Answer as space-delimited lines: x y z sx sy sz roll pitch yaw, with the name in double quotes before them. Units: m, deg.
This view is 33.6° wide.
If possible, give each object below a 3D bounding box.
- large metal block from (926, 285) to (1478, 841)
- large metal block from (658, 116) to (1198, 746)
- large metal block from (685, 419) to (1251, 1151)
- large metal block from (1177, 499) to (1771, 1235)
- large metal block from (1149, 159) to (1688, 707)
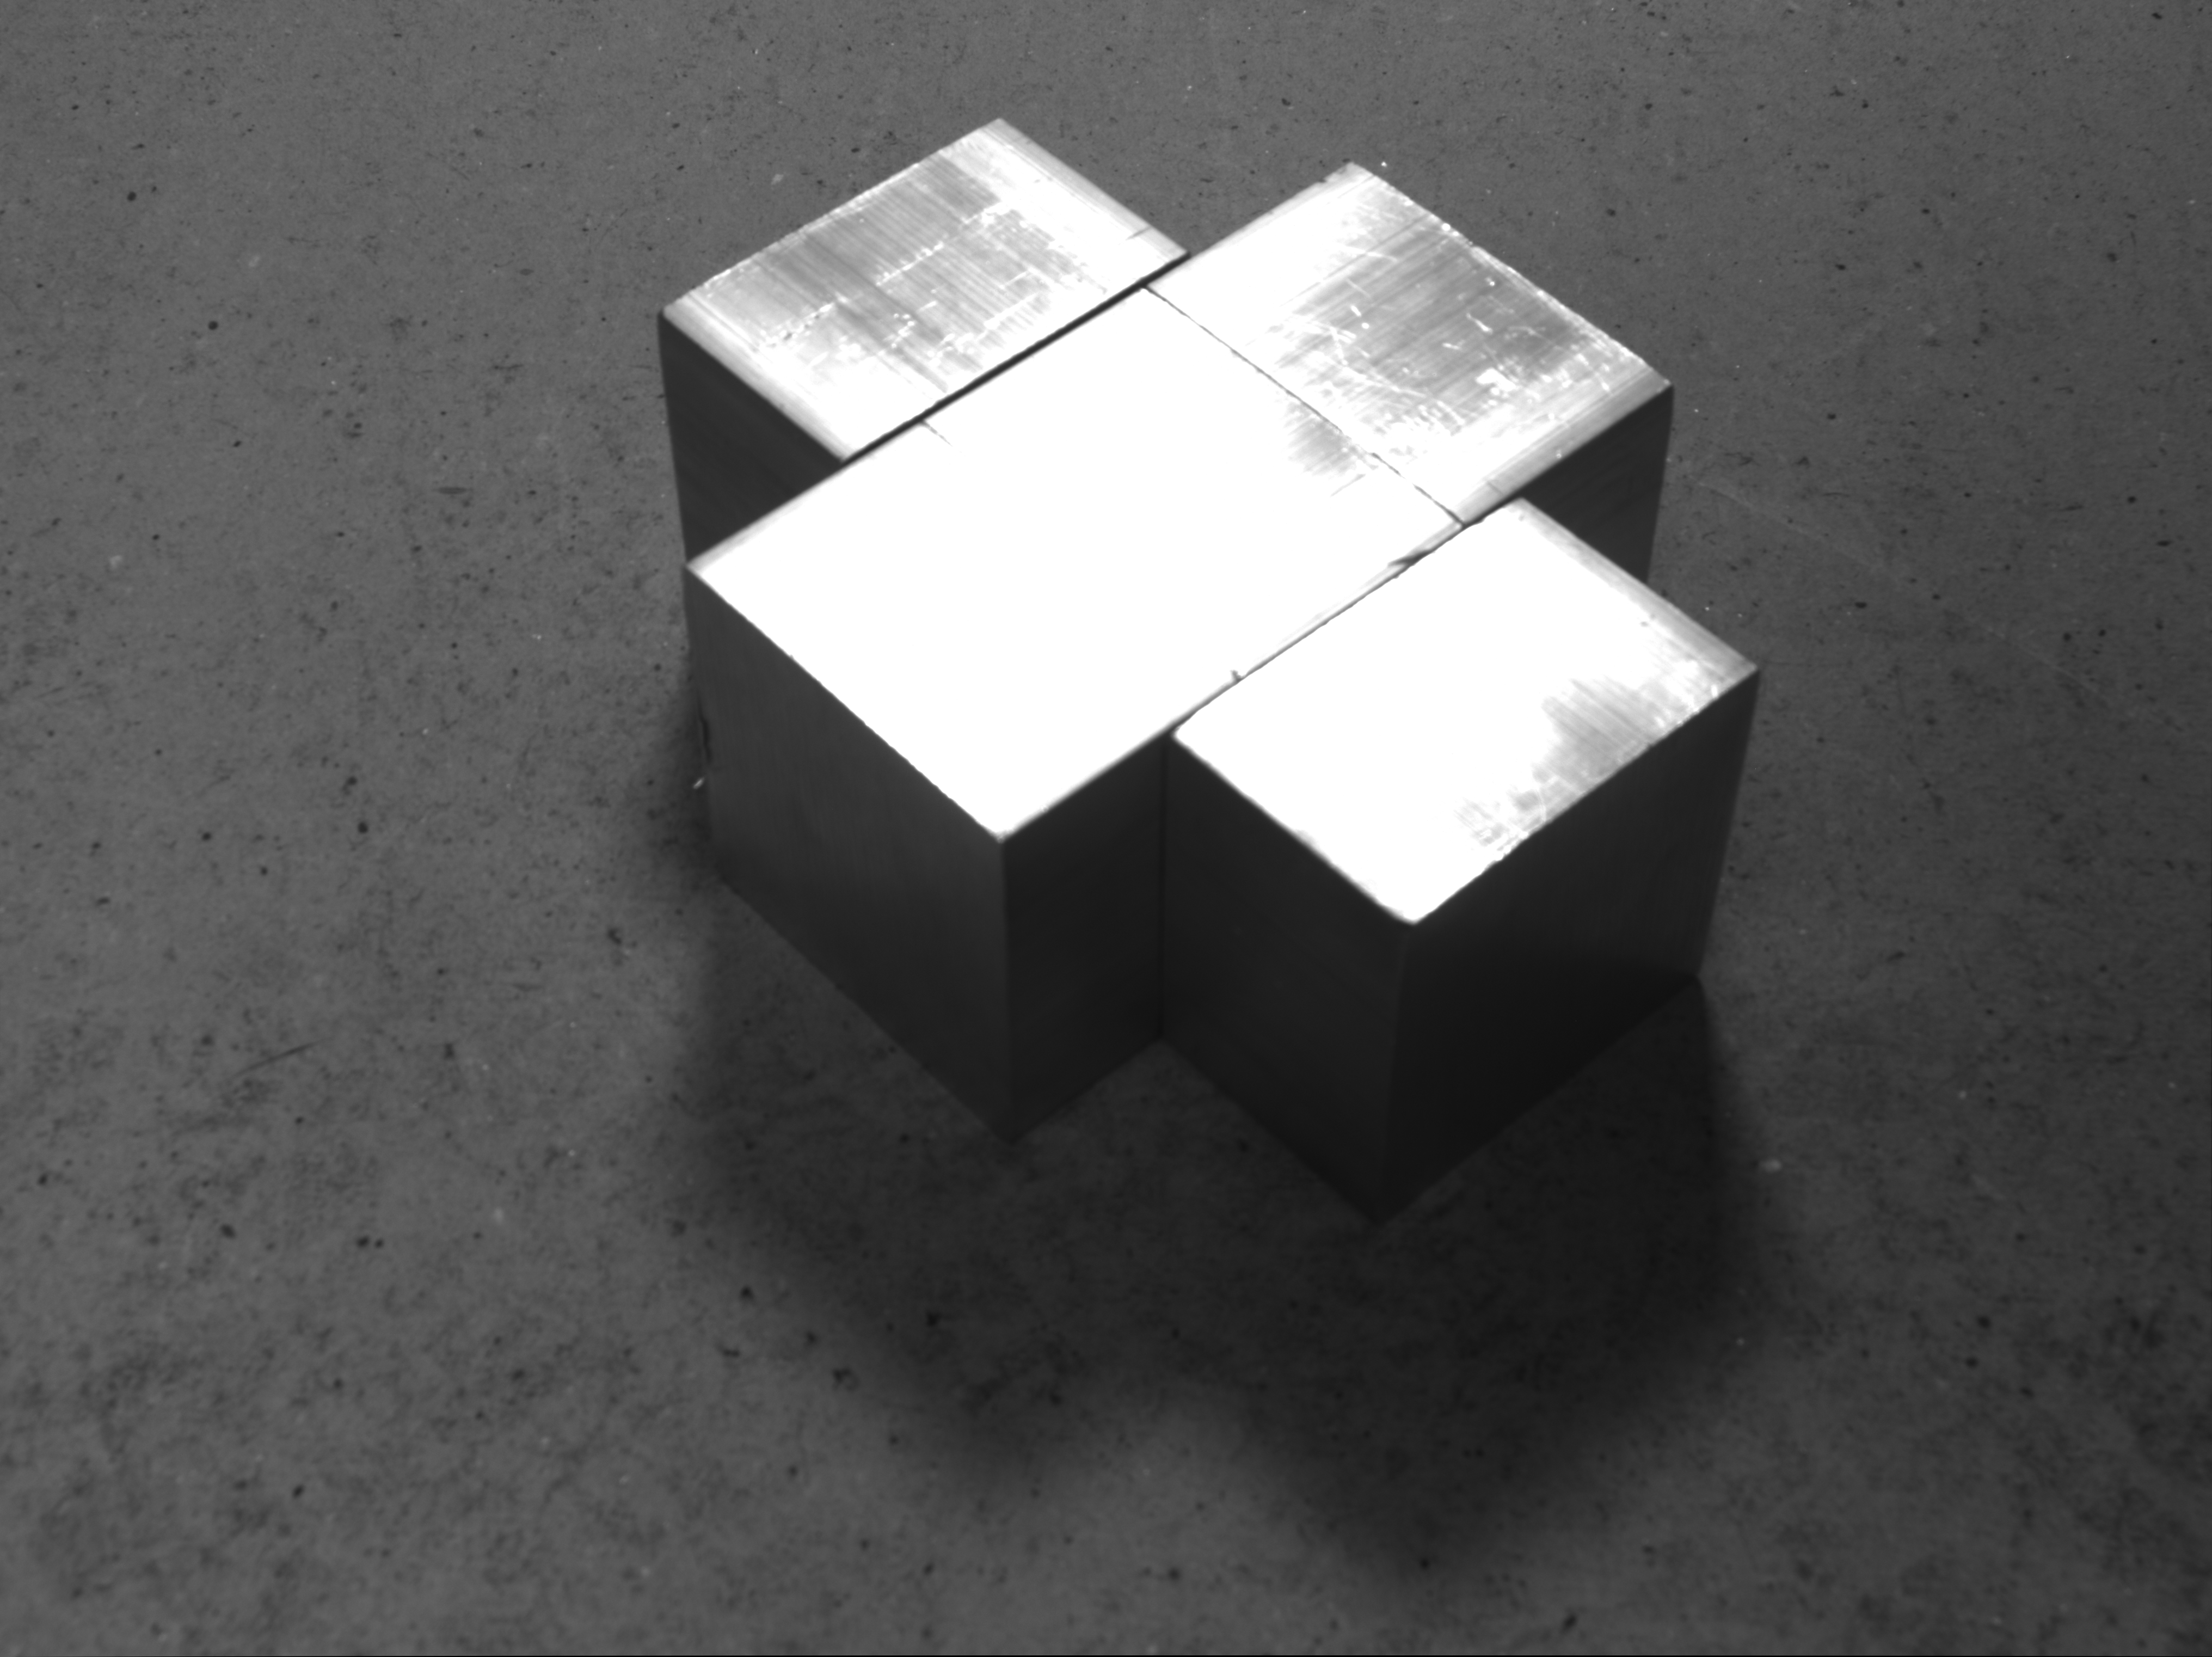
"large metal block" 0.015 -0.033 0.635 0.050 0.080 0.080 -35 58 -26
"large metal block" -0.030 -0.069 0.665 0.080 0.080 0.050 -35 58 -26
"large metal block" -0.022 -0.007 0.613 0.050 0.080 0.080 -35 58 -26
"large metal block" 0.058 0.006 0.602 0.080 0.080 0.050 -35 58 -26
"large metal block" 0.053 -0.059 0.657 0.050 0.080 0.080 -35 58 -26
